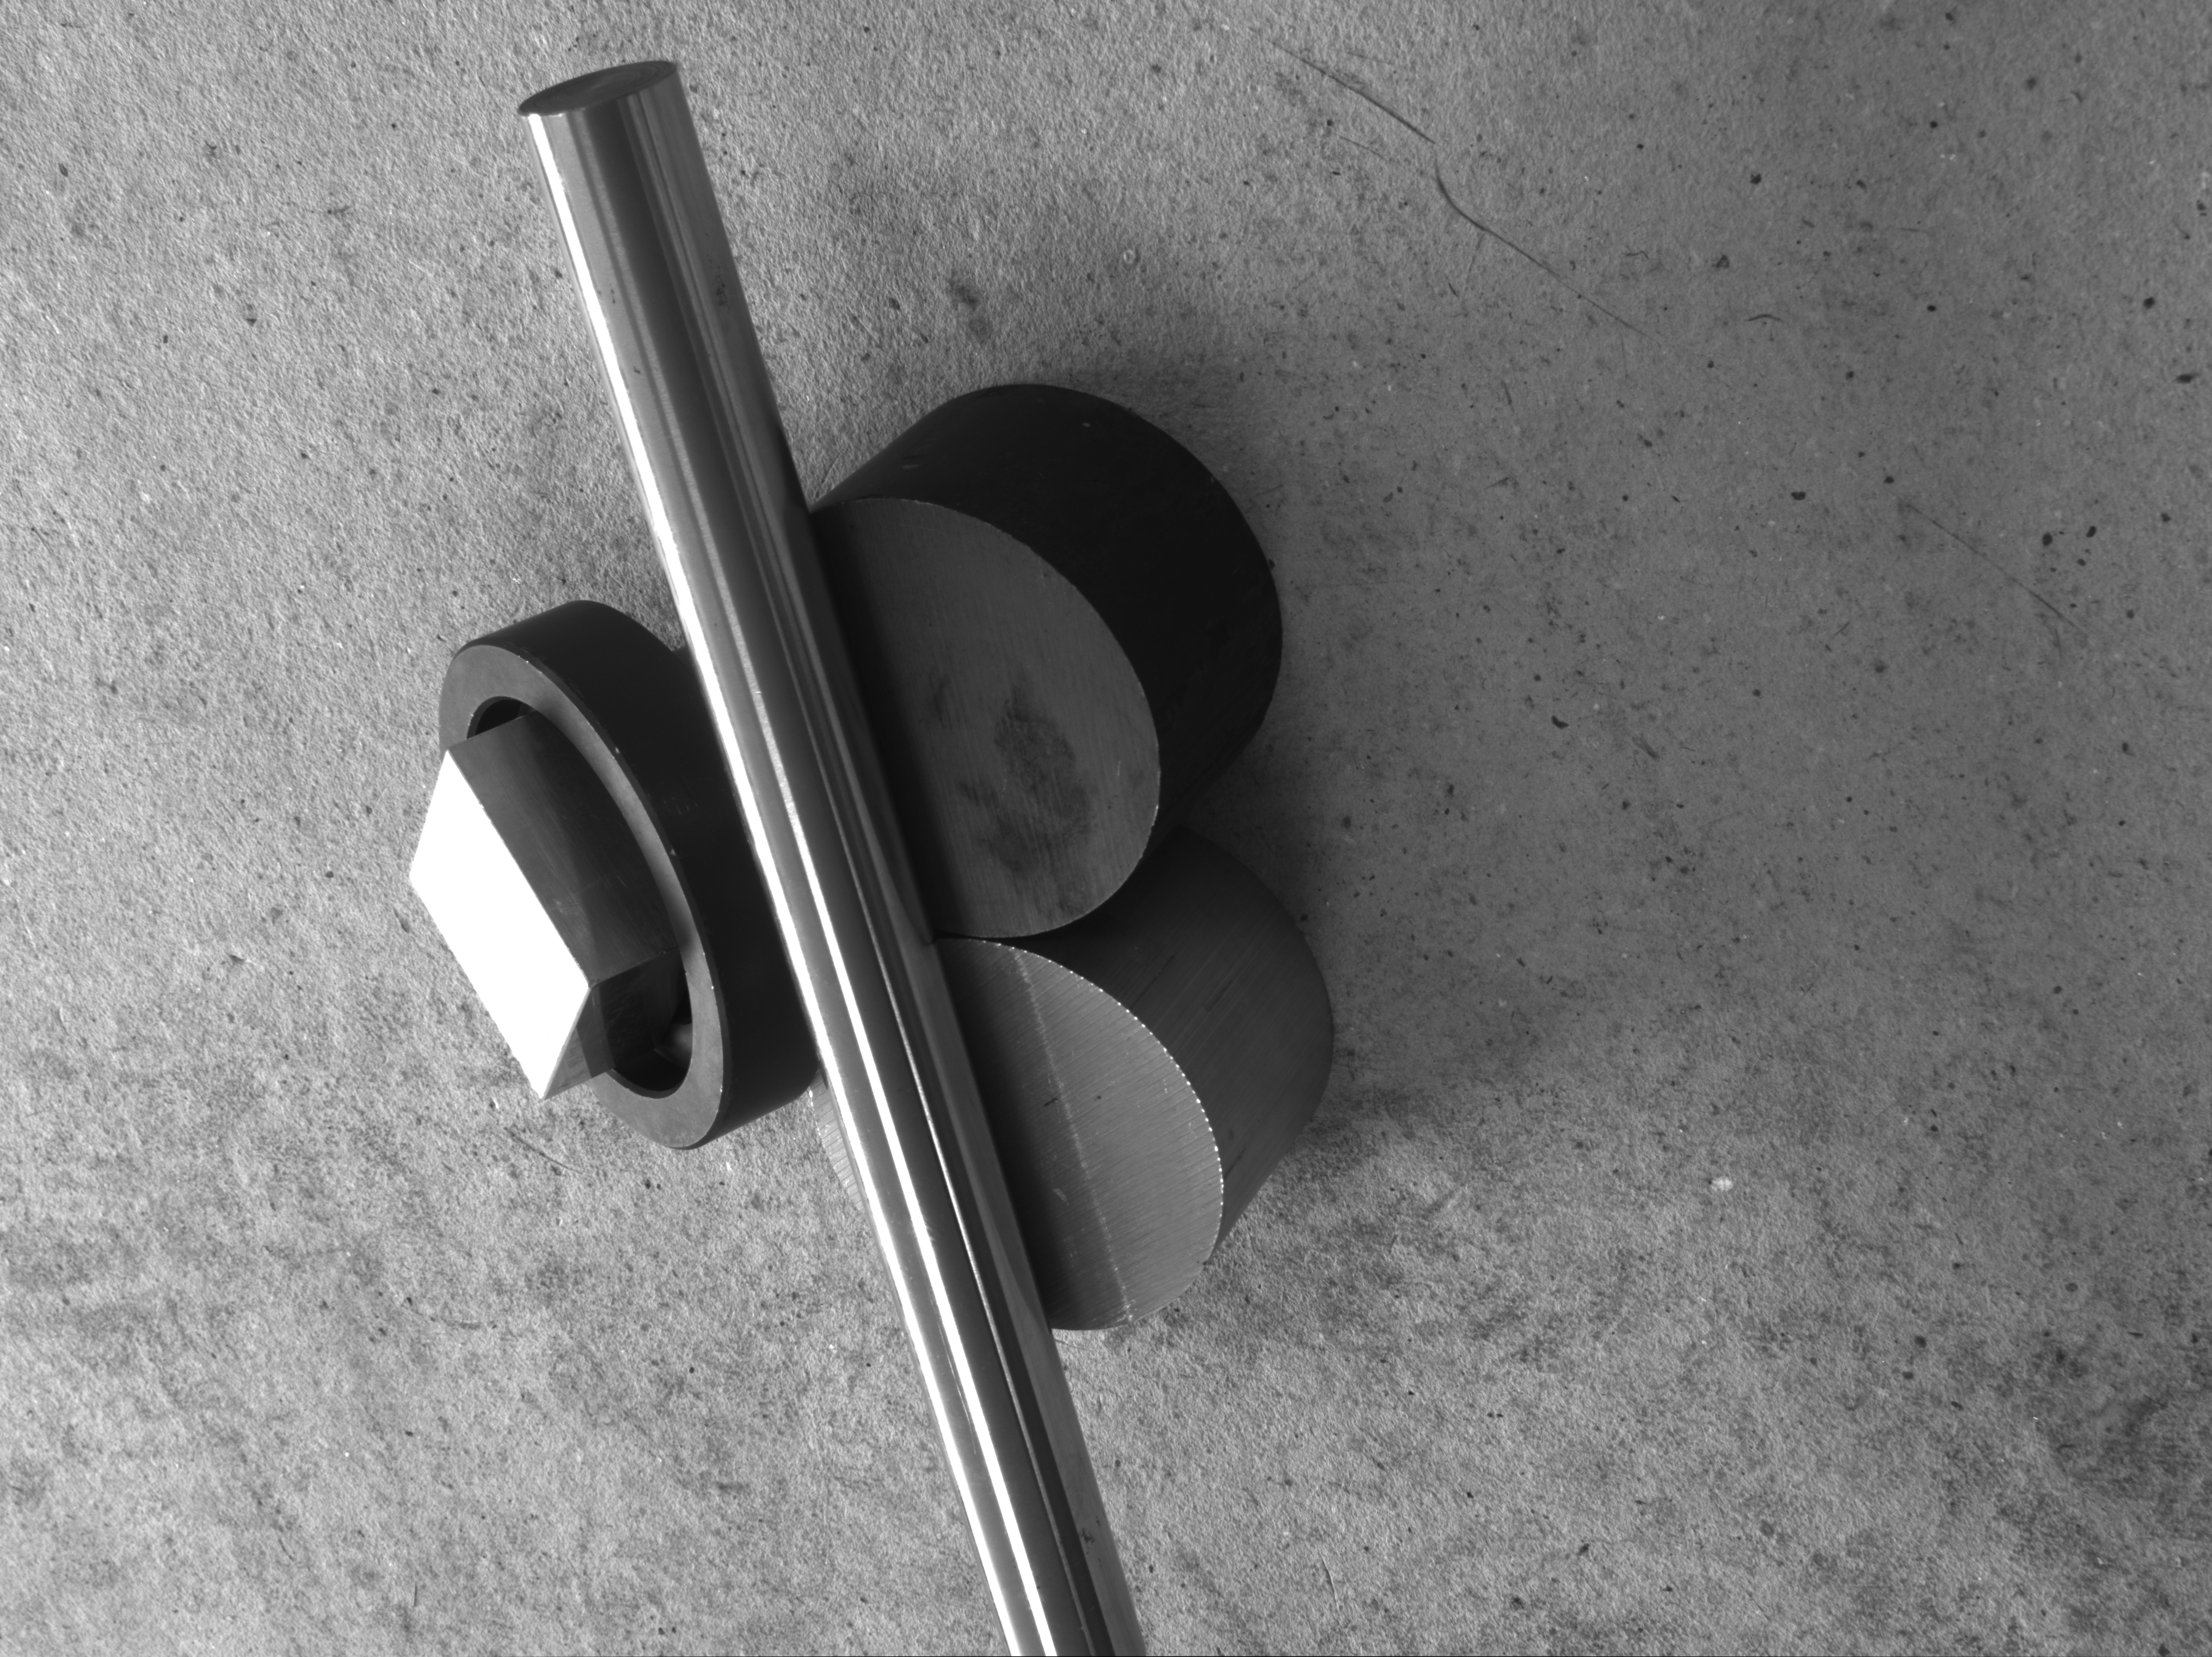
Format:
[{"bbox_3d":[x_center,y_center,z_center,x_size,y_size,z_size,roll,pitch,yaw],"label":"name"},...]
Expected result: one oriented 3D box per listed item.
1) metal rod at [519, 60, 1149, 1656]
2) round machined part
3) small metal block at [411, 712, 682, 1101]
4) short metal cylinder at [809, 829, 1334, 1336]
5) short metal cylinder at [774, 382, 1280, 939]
[{"bbox_3d":[-0.040,0.021,0.614,0.025,0.025,0.300,-1,118,29],"label":"metal rod"},{"bbox_3d":[-0.077,0.005,0.660,0.098,0.042,0.098,40,144,39],"label":"round machined part"},{"bbox_3d":[-0.097,0.013,0.651,0.050,0.025,0.050,57,151,14],"label":"small metal block"},{"bbox_3d":[-0.006,0.043,0.656,0.080,0.050,0.080,13,123,21],"label":"short metal cylinder"},{"bbox_3d":[-0.017,-0.028,0.619,0.080,0.050,0.080,13,124,21],"label":"short metal cylinder"}]
